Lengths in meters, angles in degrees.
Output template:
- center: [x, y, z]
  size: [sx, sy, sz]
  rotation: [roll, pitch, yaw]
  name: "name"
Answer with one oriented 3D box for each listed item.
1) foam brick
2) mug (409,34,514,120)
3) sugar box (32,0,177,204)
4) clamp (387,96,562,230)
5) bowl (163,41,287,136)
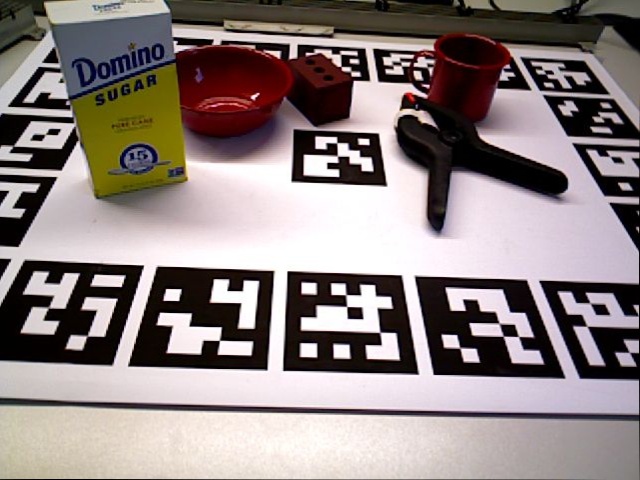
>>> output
- center: [-0.005, -0.178, 0.656]
  size: [0.052, 0.052, 0.077]
  rotation: [-20, 52, -21]
  name: "foam brick"
- center: [0.164, -0.206, 0.665]
  size: [0.117, 0.083, 0.091]
  rotation: [23, 48, 11]
  name: "mug"
- center: [-0.183, -0.119, 0.488]
  size: [0.091, 0.181, 0.045]
  rotation: [-16, 52, -22]
  name: "sugar box"
- center: [0.134, -0.103, 0.591]
  size: [0.163, 0.037, 0.201]
  rotation: [-17, 51, -18]
  name: "clamp"
- center: [-0.119, -0.169, 0.625]
  size: [0.160, 0.056, 0.159]
  rotation: [3, 46, -4]
  name: "bowl"
